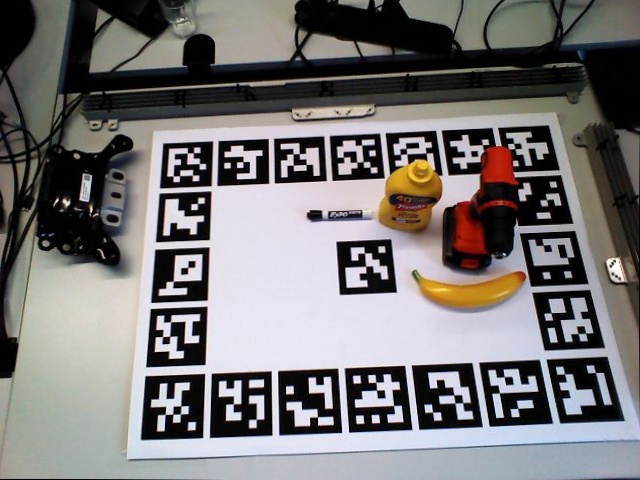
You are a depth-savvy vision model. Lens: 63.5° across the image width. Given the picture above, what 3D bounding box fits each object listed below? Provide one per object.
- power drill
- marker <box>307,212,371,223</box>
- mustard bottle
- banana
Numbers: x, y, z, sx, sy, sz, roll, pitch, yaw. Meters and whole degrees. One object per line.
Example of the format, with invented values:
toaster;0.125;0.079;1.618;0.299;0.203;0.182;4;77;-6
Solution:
power drill;0.270;-0.020;0.854;0.057;0.187;0.183;11;68;3
marker;0.036;-0.043;0.976;0.121;0.020;0.019;-1;71;1
mustard bottle;0.162;-0.070;0.892;0.096;0.192;0.058;8;70;2
banana;0.264;0.096;0.913;0.198;0.039;0.074;5;71;4
